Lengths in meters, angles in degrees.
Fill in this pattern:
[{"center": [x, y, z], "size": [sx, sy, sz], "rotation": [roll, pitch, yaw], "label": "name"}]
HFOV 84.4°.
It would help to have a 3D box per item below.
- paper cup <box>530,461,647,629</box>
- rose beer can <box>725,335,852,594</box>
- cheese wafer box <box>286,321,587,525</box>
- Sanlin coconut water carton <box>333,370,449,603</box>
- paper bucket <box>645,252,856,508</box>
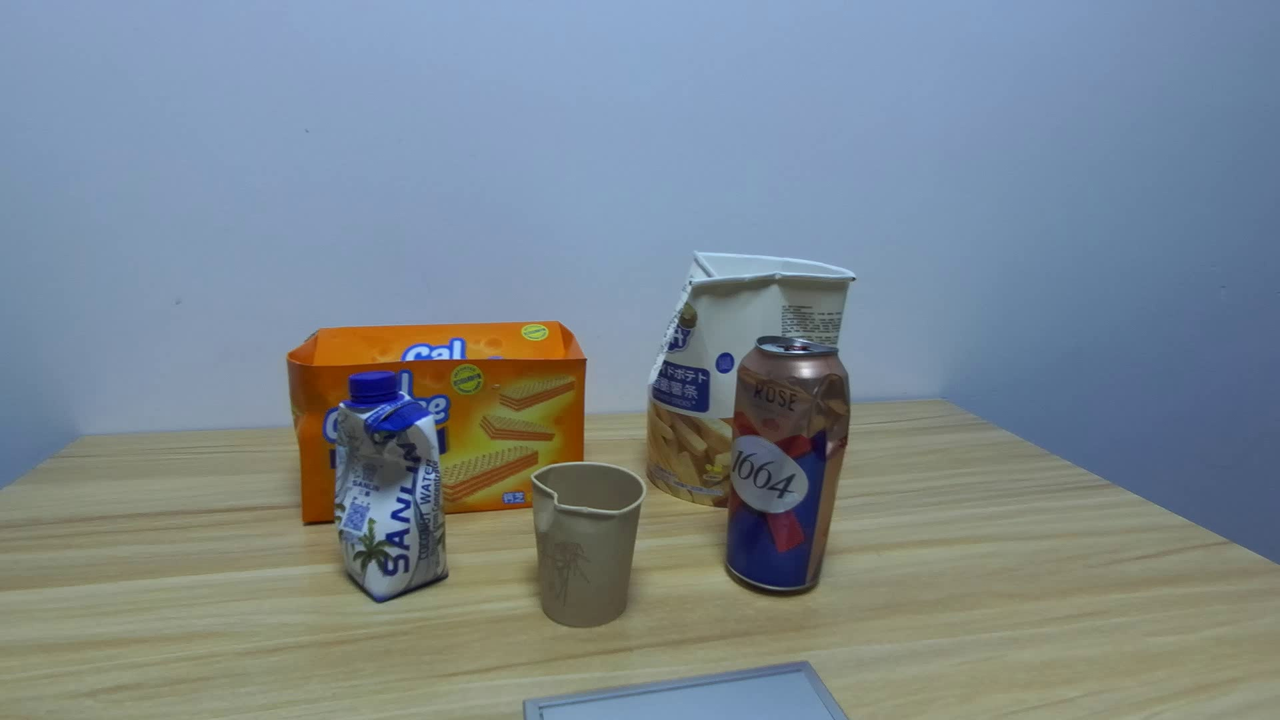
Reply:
[{"center": [-0.033, 0.115, 0.441], "size": [0.073, 0.081, 0.069], "rotation": [3, 13, 4], "label": "paper cup"}, {"center": [0.098, 0.070, 0.472], "size": [0.065, 0.167, 0.075], "rotation": [-1, 12, -23], "label": "rose beer can"}, {"center": [-0.169, 0.047, 0.611], "size": [0.231, 0.132, 0.152], "rotation": [-1, 16, -14], "label": "cheese wafer box"}, {"center": [-0.160, 0.081, 0.448], "size": [0.057, 0.145, 0.068], "rotation": [-20, 32, -40], "label": "Sanlin coconut water carton"}, {"center": [0.080, 0.009, 0.639], "size": [0.170, 0.202, 0.162], "rotation": [-2, 14, -23], "label": "paper bucket"}]
